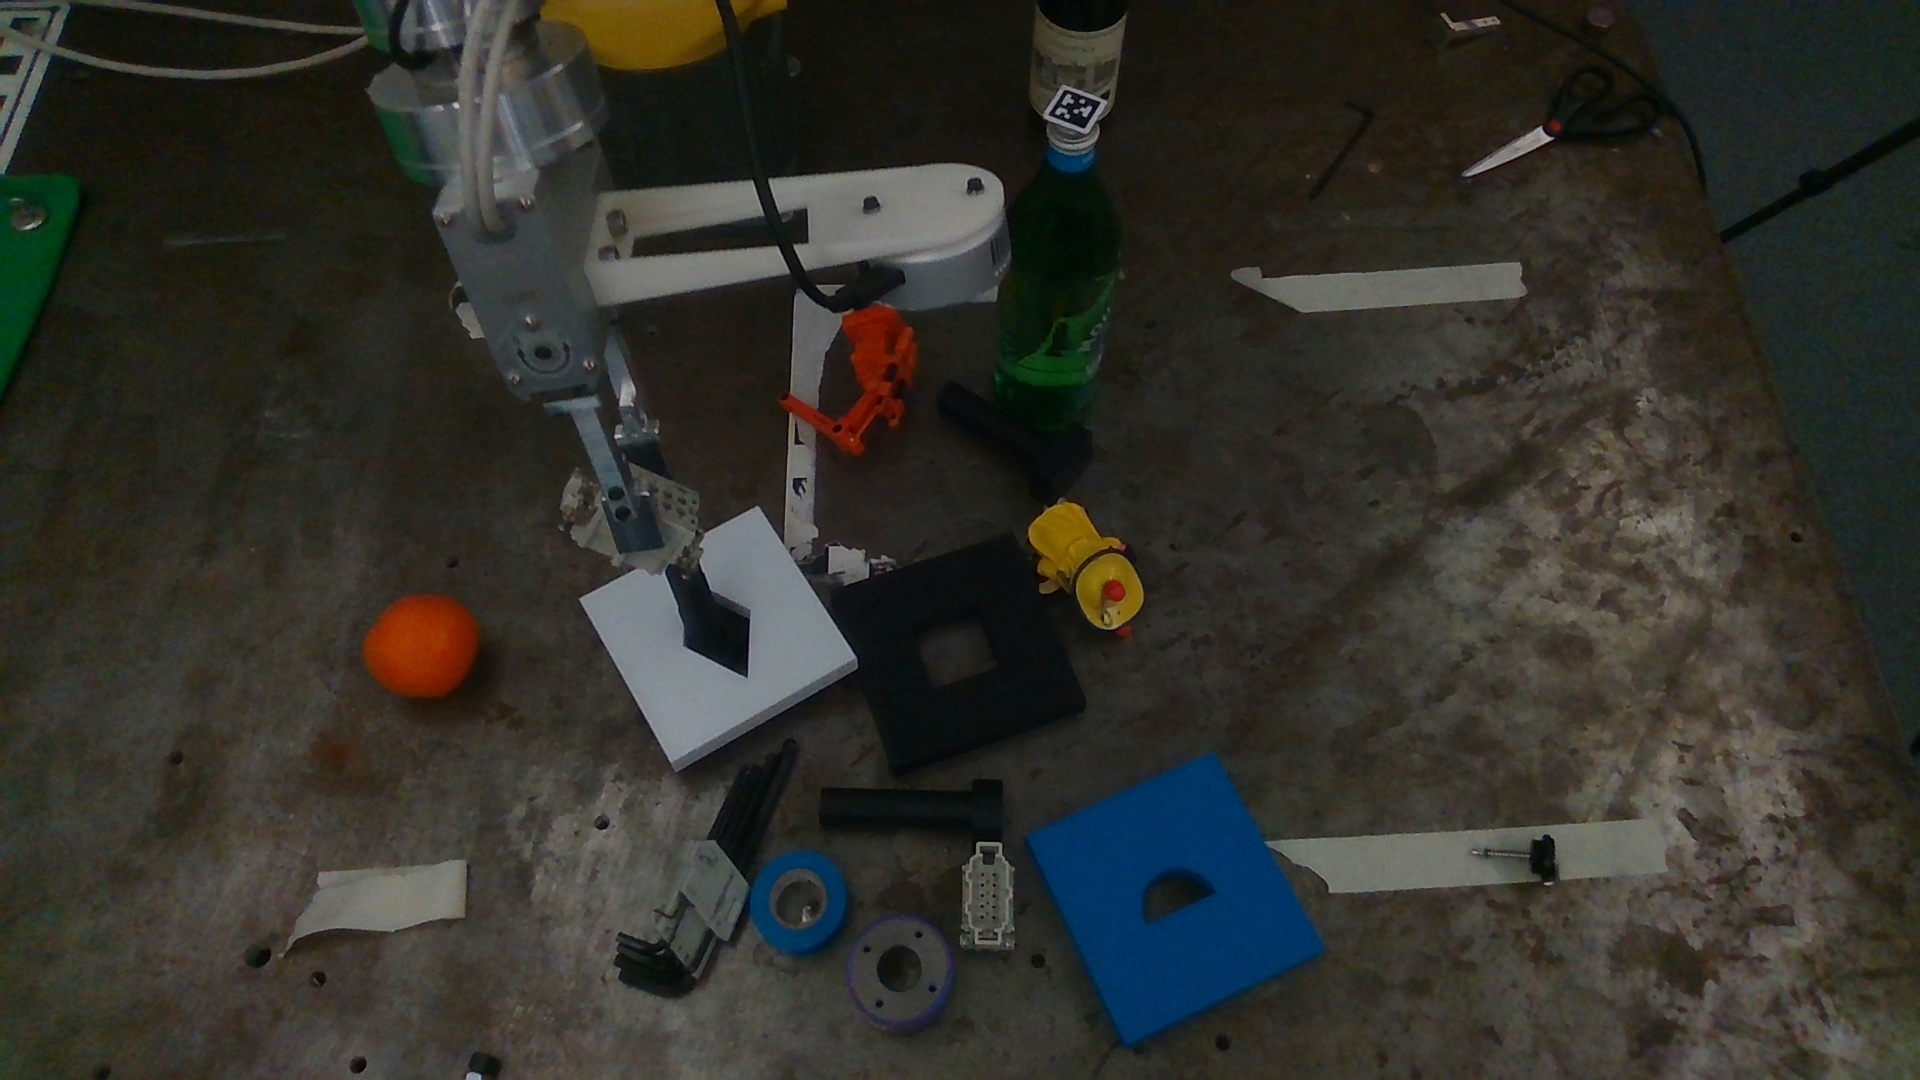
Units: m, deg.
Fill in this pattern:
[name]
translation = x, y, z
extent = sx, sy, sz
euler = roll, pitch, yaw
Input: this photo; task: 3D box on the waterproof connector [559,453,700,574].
[waterproof connector]
translation = -0.158, -0.010, 0.663
extent = 0.069, 0.039, 0.037
euler = 26, 27, -23
